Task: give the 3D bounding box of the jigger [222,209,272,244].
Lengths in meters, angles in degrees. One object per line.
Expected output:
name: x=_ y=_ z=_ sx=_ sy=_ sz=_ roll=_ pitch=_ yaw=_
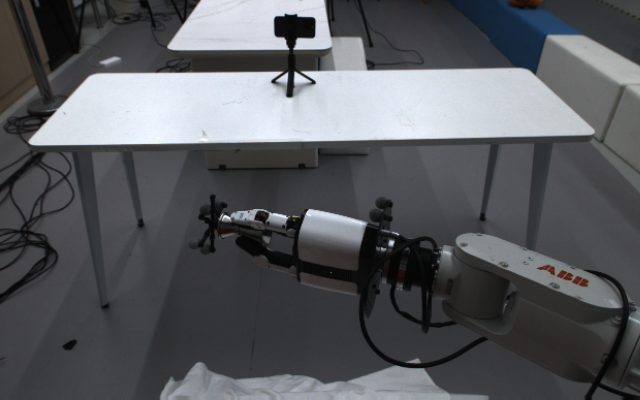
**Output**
jigger: x=-0.100 y=0.037 z=0.691 sx=0.071 sy=0.043 sz=0.043 roll=7 pitch=35 yaw=12
